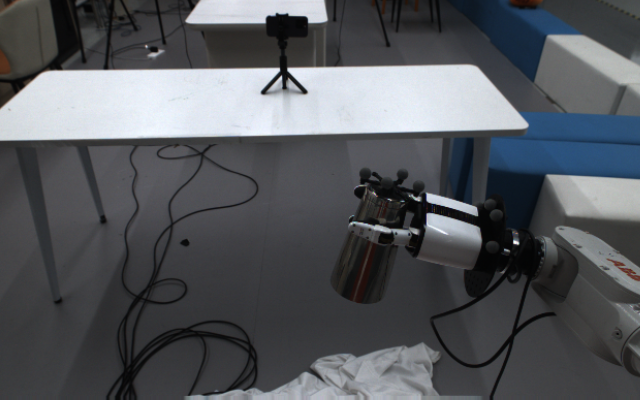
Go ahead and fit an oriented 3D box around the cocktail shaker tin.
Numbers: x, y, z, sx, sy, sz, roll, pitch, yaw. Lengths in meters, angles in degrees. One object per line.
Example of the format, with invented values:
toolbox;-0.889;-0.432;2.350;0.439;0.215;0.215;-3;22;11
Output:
cocktail shaker tin;0.083;0.059;0.741;0.093;0.170;0.093;12;25;-6
